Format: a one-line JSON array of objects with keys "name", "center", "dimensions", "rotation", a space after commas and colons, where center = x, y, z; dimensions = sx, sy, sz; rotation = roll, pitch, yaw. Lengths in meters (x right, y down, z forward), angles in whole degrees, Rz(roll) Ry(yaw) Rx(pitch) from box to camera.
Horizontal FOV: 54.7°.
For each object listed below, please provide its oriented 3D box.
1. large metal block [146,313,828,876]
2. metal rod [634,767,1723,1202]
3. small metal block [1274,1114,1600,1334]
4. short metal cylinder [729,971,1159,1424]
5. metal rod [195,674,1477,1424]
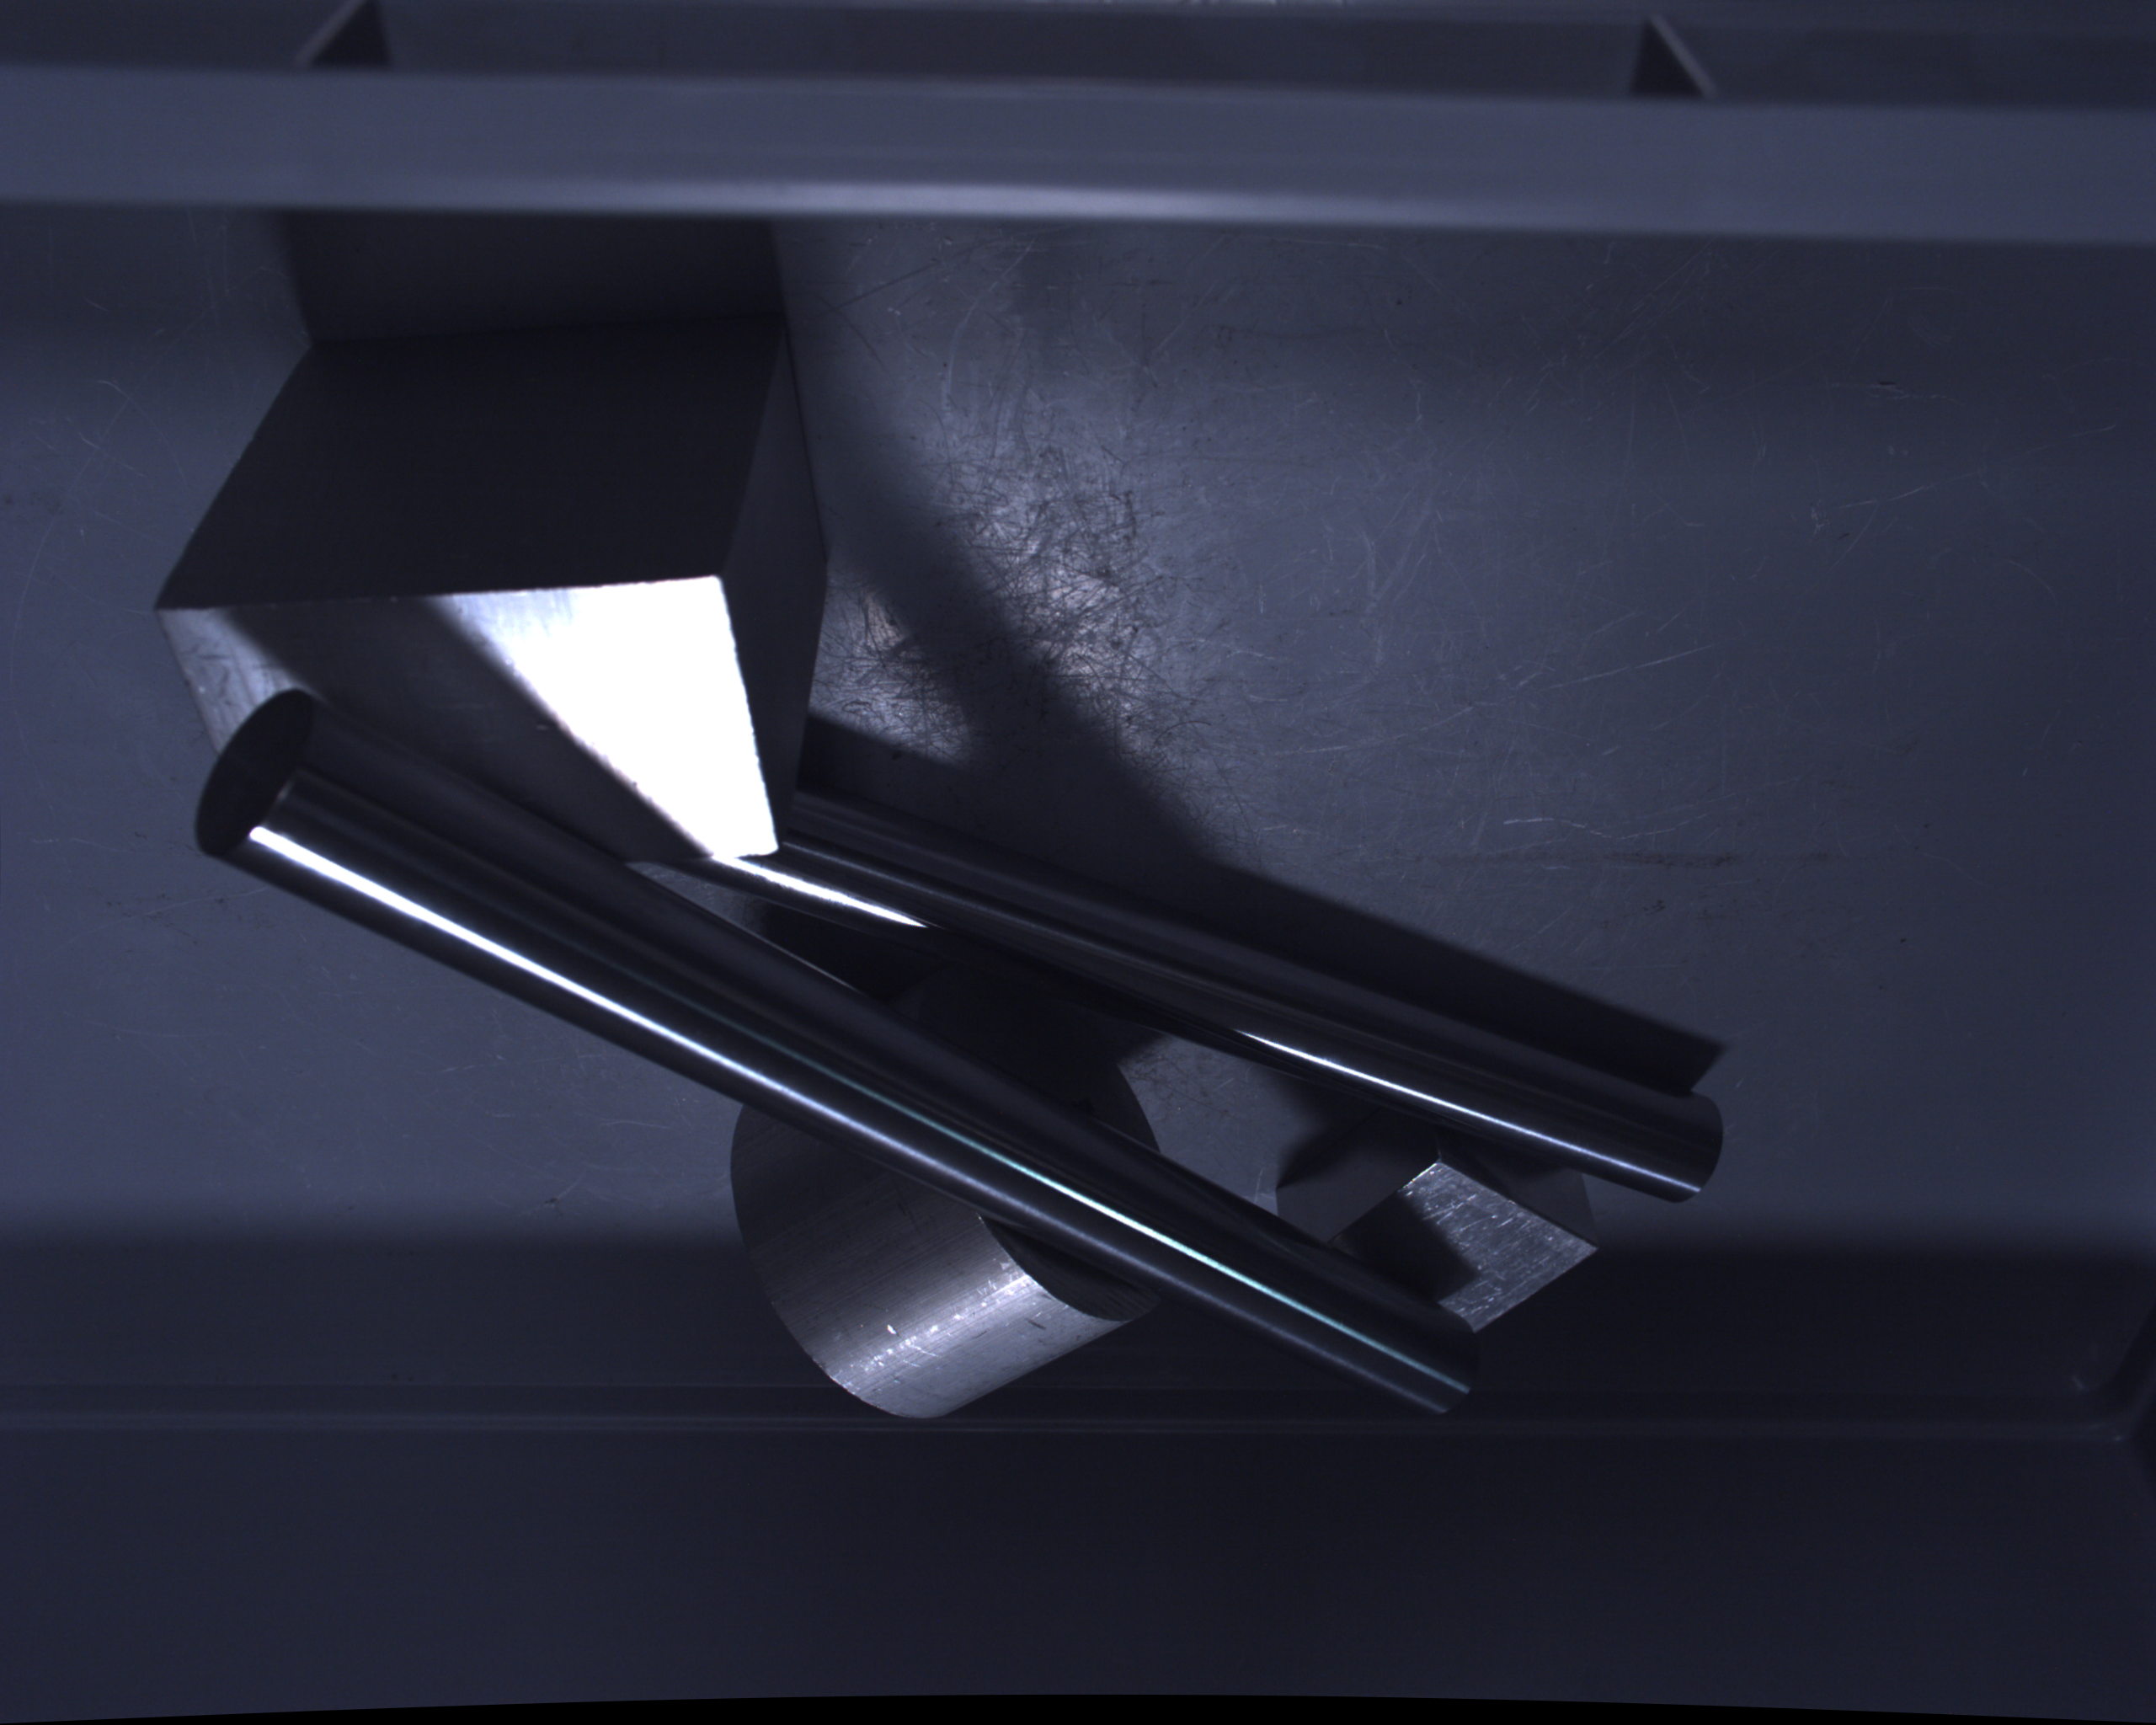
[{"name": "large metal block", "center": [-0.087, -0.045, 0.333], "dimensions": [0.080, 0.080, 0.050], "rotation": [-3, 130, 2]}, {"name": "metal rod", "center": [-0.001, 0.015, 0.420], "dimensions": [0.302, 0.025, 0.025], "rotation": [19, 127, -17]}, {"name": "small metal block", "center": [0.082, 0.082, 0.479], "dimensions": [0.050, 0.025, 0.050], "rotation": [31, 123, -24]}, {"name": "short metal cylinder", "center": [-0.024, 0.067, 0.427], "dimensions": [0.050, 0.080, 0.080], "rotation": [-33, 123, 24]}, {"name": "metal rod", "center": [-0.015, 0.050, 0.373], "dimensions": [0.025, 0.025, 0.301], "rotation": [-33, 136, 24]}]
